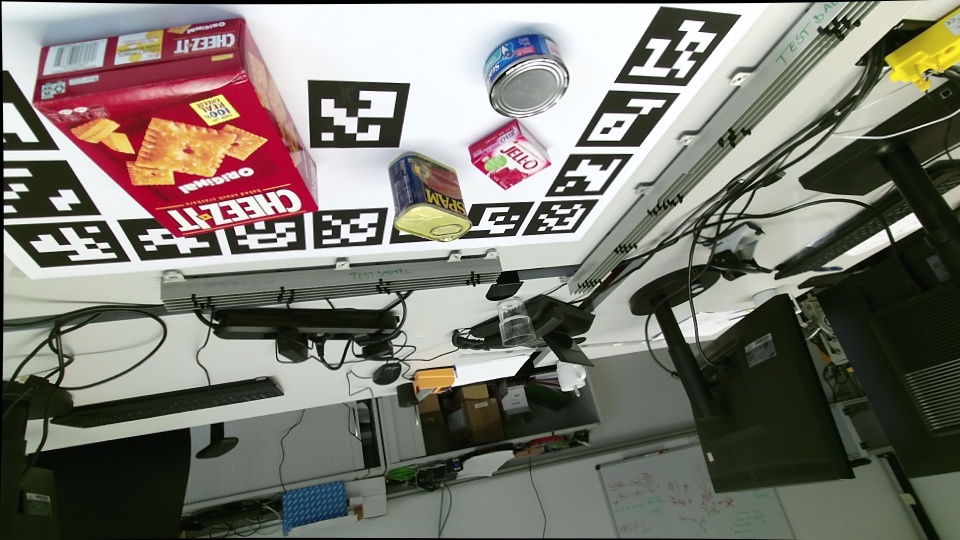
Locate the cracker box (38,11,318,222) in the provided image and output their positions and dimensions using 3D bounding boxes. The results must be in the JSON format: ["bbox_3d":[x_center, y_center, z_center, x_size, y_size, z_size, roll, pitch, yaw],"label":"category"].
[{"bbox_3d":[-0.274,-0.135,0.532,0.165,0.071,0.214,-11,157,-3],"label":"cracker box"}]

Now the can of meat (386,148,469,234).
[{"bbox_3d":[-0.070,-0.103,0.698,0.058,0.083,0.102,-32,151,35],"label":"can of meat"}]

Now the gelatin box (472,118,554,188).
[{"bbox_3d":[0.044,-0.150,0.703,0.073,0.030,0.090,-23,151,26],"label":"gelatin box"}]

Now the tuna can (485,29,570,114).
[{"bbox_3d":[0.049,-0.209,0.568,0.086,0.033,0.086,-13,153,-7],"label":"tuna can"}]
